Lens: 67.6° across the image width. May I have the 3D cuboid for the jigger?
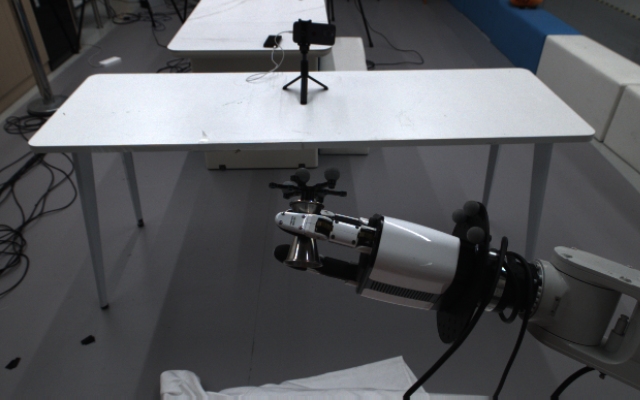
[{"bbox_3d":[-0.017,0.037,0.539,0.043,0.043,0.071,3,75,1],"label":"jigger"}]
